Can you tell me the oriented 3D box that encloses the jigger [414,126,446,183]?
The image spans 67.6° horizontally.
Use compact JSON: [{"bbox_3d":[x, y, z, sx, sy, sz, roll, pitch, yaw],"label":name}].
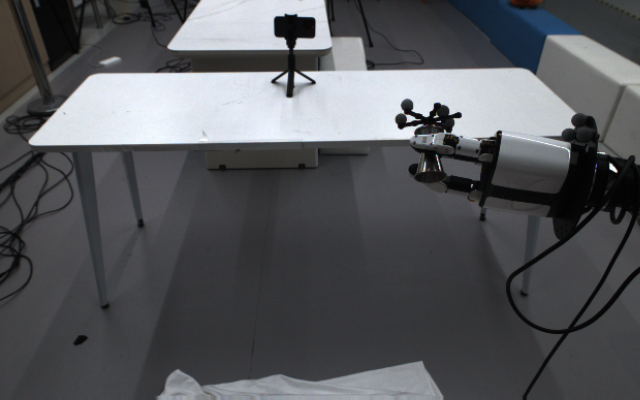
[{"bbox_3d":[0.147,-0.064,0.656,0.043,0.043,0.071,3,72,1],"label":"jigger"}]
